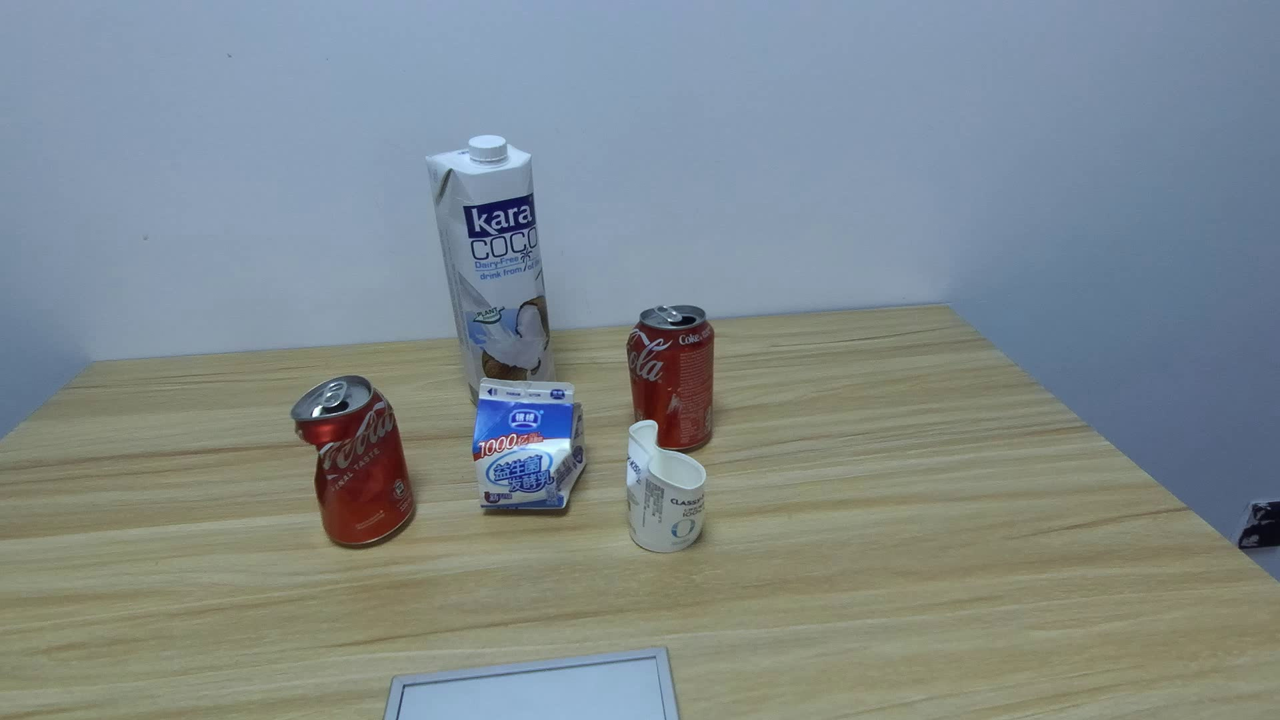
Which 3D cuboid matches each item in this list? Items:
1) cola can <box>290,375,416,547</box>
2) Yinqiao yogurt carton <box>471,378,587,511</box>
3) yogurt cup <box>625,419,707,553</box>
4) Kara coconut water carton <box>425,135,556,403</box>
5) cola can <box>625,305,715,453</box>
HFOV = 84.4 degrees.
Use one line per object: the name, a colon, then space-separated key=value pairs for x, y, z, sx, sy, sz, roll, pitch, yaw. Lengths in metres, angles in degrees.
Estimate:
cola can: x=-0.204 y=0.072 z=0.506 sx=0.065 sy=0.112 sz=0.069 roll=16 pitch=34 yaw=31
Yinqiao yogurt carton: x=-0.083 y=0.059 z=0.538 sx=0.074 sy=0.097 sz=0.080 roll=0 pitch=21 yaw=2
yogurt cup: x=0.018 y=0.092 z=0.497 sx=0.075 sy=0.071 sz=0.054 roll=20 pitch=35 yaw=32
Kara coconut water carton: x=-0.125 y=-0.068 z=0.616 sx=0.077 sy=0.245 sz=0.075 roll=-17 pitch=29 yaw=-27
cola can: x=0.027 y=0.015 z=0.590 sx=0.072 sy=0.117 sz=0.065 roll=-5 pitch=29 yaw=-5
